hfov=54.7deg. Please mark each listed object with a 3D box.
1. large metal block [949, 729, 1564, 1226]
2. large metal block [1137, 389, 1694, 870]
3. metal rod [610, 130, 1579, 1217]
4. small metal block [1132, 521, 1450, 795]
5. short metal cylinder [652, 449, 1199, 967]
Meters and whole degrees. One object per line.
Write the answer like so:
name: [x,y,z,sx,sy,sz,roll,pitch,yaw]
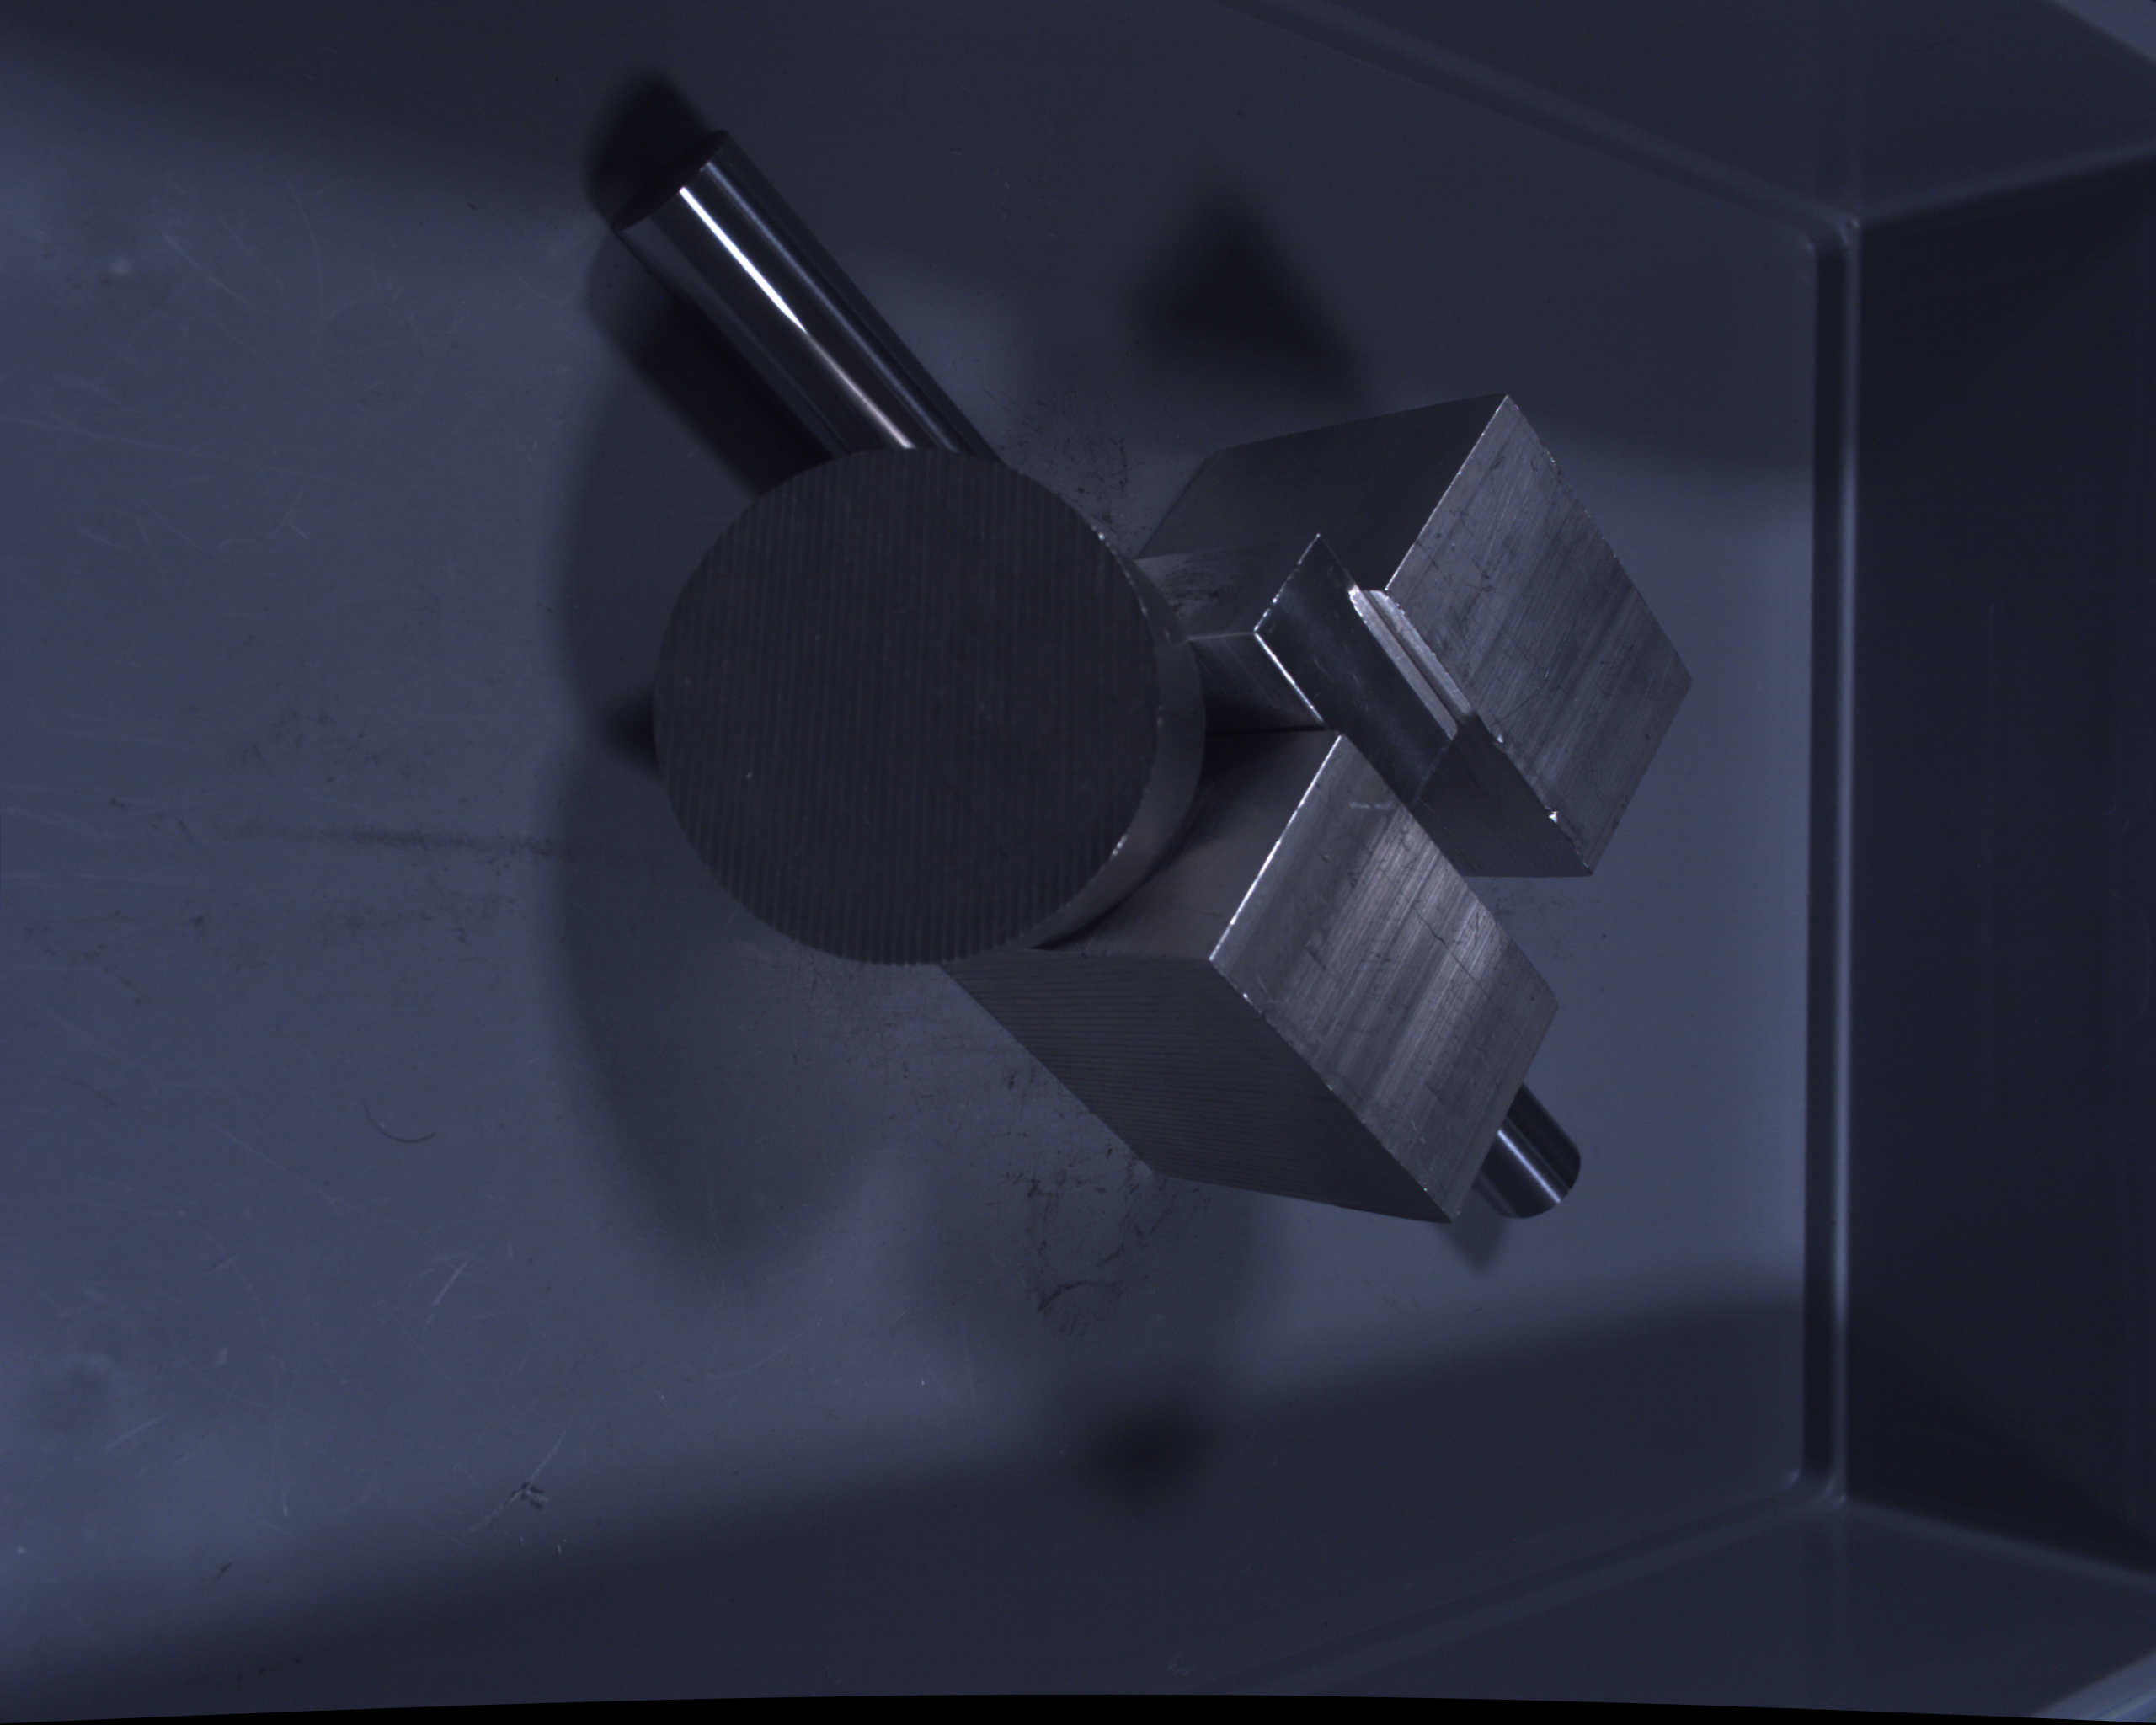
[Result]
large metal block: [0.031,0.021,0.398,0.080,0.080,0.050,47,62,-30]
large metal block: [0.064,-0.044,0.426,0.080,0.080,0.050,48,61,-30]
metal rod: [0.020,-0.020,0.425,0.300,0.025,0.025,47,62,-30]
small metal block: [0.032,-0.034,0.387,0.050,0.050,0.025,48,61,-30]
short metal cylinder: [-0.022,-0.024,0.344,0.050,0.080,0.079,3,88,-80]
